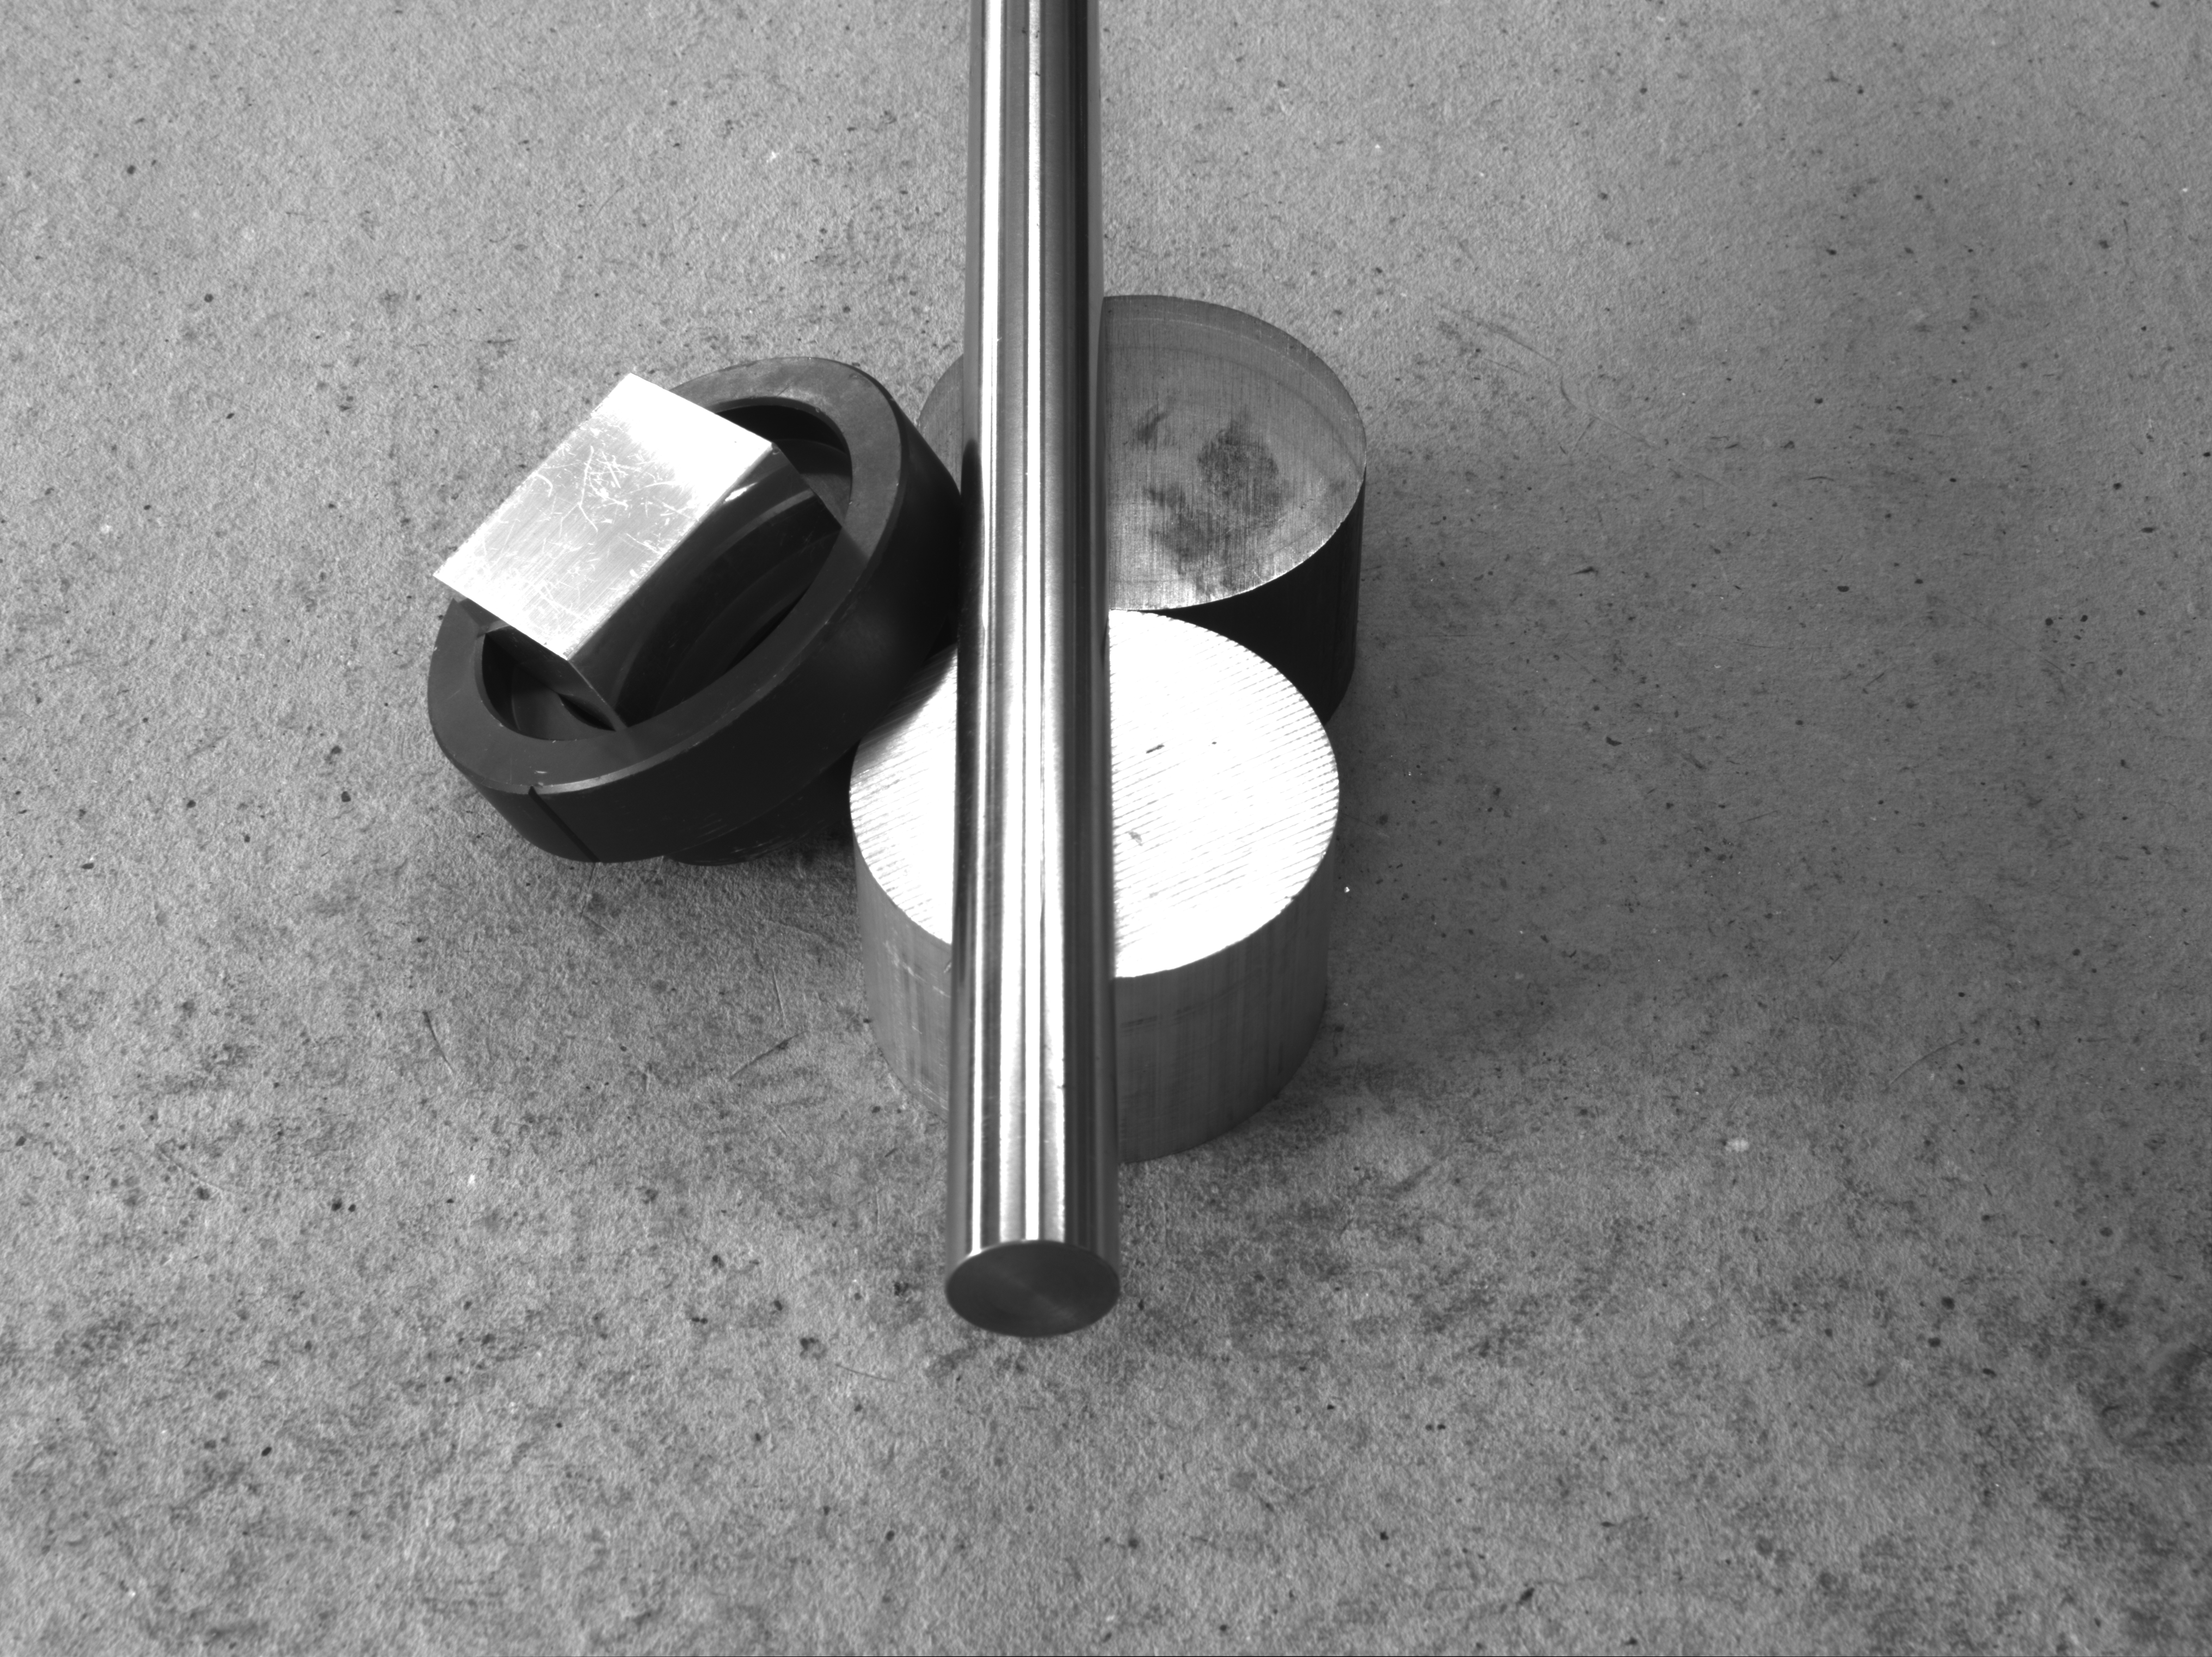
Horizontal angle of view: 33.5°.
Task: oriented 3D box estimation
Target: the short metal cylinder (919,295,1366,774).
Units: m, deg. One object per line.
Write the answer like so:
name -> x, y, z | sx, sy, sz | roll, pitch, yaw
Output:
short metal cylinder -> 0.006, -0.052, 0.670 | 0.080, 0.050, 0.080 | 0, 50, 0

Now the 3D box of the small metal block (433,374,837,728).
small metal block -> -0.079, -0.046, 0.629 | 0.050, 0.025, 0.050 | -48, 40, -11

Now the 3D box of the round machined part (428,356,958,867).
round machined part -> -0.066, -0.033, 0.643 | 0.098, 0.042, 0.098 | -21, 43, 21

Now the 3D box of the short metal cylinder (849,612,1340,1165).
short metal cylinder -> -0.002, 0.010, 0.618 | 0.080, 0.050, 0.080 | 0, 49, 0

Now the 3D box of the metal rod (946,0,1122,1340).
metal rod -> -0.012, -0.048, 0.619 | 0.025, 0.025, 0.300 | -1, 50, 0
